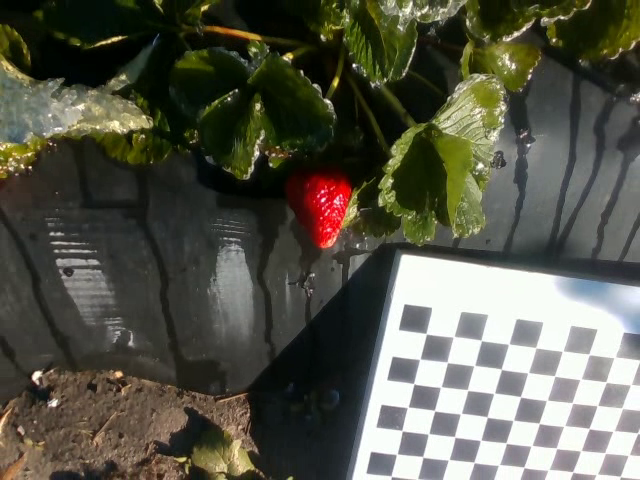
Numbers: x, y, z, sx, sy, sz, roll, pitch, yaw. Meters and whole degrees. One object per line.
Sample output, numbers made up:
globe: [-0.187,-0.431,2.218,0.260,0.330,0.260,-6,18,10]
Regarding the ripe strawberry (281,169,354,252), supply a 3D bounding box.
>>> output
ripe strawberry: [0.000,-0.018,0.340,0.041,0.053,0.047,2,-19,-5]
